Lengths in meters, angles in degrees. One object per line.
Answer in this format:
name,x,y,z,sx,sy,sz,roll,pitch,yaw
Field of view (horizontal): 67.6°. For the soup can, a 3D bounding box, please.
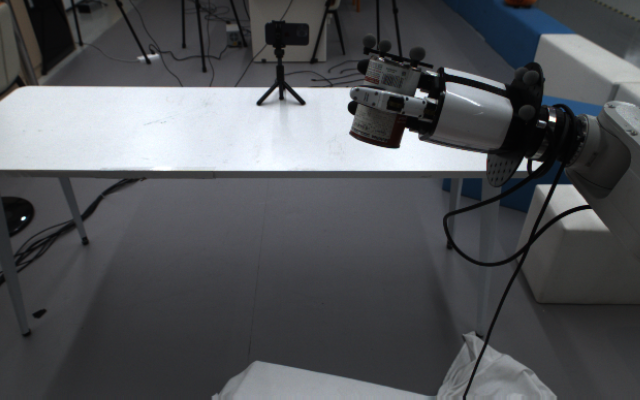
soup can,0.083,-0.124,0.614,0.067,0.101,0.067,13,18,-4
